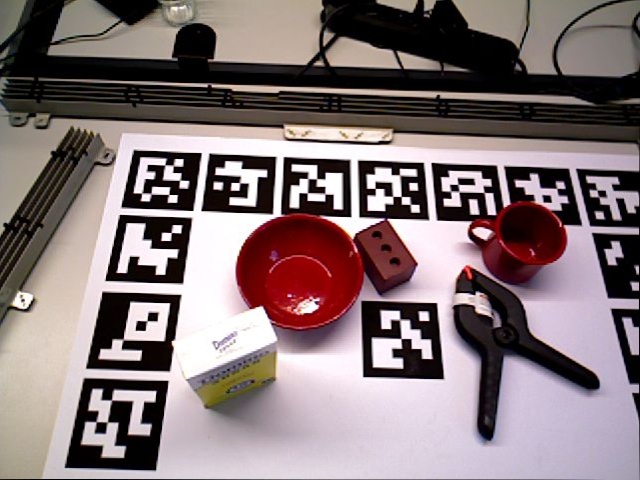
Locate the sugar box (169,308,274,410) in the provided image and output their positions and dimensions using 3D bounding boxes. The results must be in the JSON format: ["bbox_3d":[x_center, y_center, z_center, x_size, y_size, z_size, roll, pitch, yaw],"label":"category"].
[{"bbox_3d":[-0.098,0.131,0.574,0.091,0.180,0.045,-20,68,-15],"label":"sugar box"}]

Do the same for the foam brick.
[{"bbox_3d":[0.088,0.029,0.711,0.052,0.052,0.078,-23,68,-14],"label":"foam brick"}]

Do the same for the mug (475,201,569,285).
[{"bbox_3d":[0.258,0.003,0.707,0.117,0.083,0.092,27,65,6],"label":"mug"}]

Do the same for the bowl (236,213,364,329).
[{"bbox_3d":[-0.028,0.044,0.688,0.160,0.056,0.160,1,64,-4],"label":"bowl"}]

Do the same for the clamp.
[{"bbox_3d":[0.223,0.124,0.668,0.163,0.037,0.201,-20,68,-10],"label":"clamp"}]
